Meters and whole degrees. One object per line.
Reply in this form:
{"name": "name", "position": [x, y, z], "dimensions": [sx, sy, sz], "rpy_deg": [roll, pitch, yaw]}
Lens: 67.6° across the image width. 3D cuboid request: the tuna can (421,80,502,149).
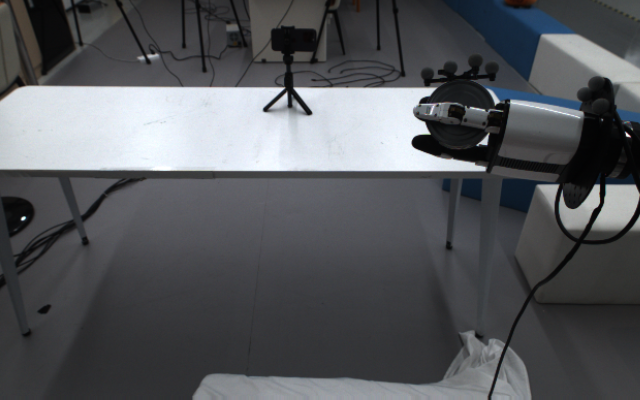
{"name": "tuna can", "position": [0.178, -0.110, 0.621], "dimensions": [0.085, 0.085, 0.034], "rpy_deg": [16, 0, 19]}
